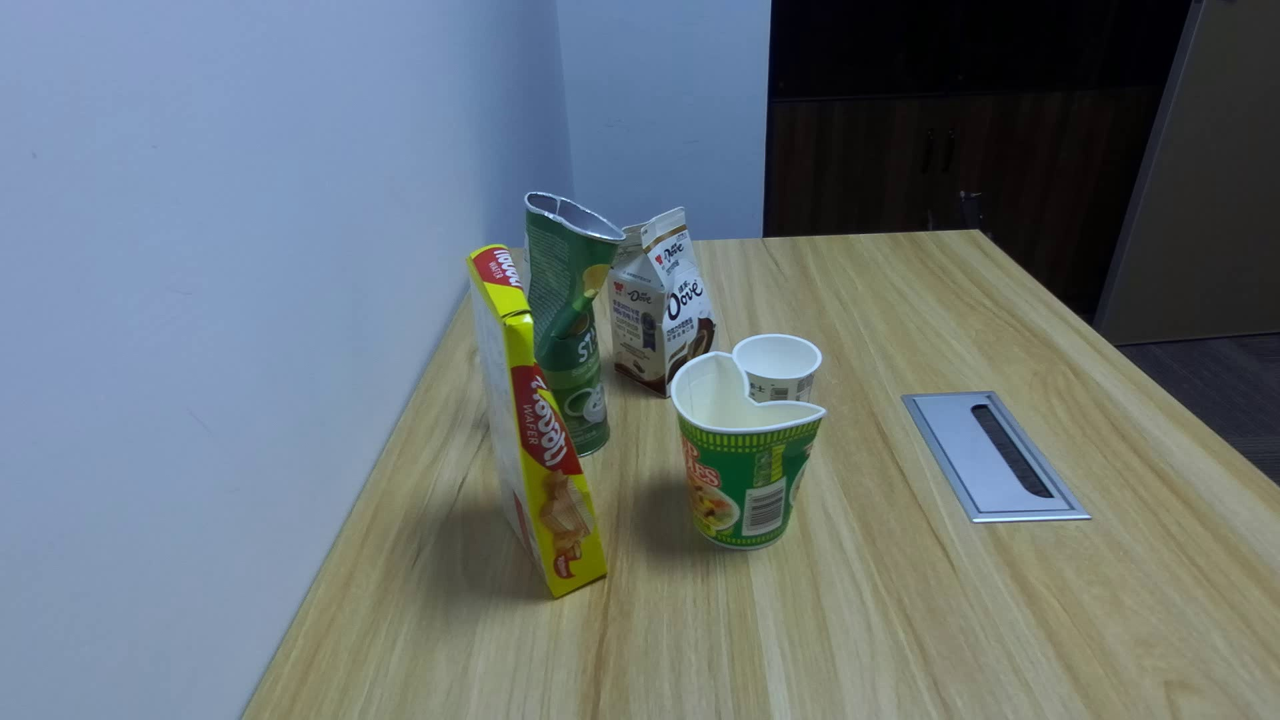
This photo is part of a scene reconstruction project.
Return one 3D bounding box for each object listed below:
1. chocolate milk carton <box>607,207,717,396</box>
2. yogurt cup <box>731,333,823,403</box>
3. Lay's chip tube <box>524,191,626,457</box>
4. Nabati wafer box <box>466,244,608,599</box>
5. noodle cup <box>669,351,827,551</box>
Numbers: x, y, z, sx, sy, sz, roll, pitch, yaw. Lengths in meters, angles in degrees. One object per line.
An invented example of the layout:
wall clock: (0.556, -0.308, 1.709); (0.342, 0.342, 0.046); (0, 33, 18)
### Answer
chocolate milk carton: (0.023, -0.057, 0.637); (0.084, 0.155, 0.072); (-27, 38, -35)
yogurt cup: (0.108, 0.025, 0.571); (0.072, 0.068, 0.072); (-2, 31, 1)
Lay's chip tube: (-0.053, -0.022, 0.547); (0.071, 0.199, 0.078); (-5, 33, -15)
Nabati wafer box: (-0.063, 0.041, 0.435); (0.043, 0.205, 0.113); (-17, 33, -18)
noodle cup: (0.065, 0.063, 0.471); (0.087, 0.109, 0.093); (-10, 32, -9)
